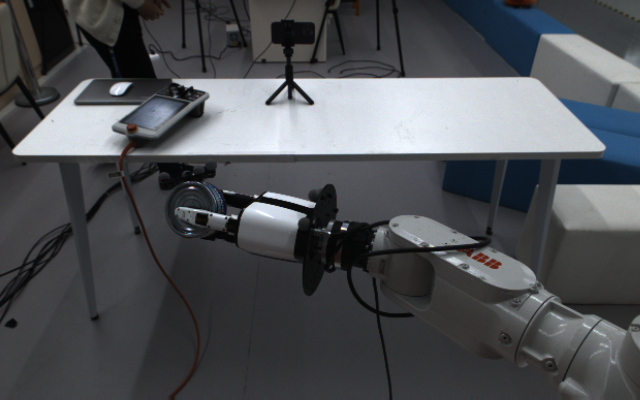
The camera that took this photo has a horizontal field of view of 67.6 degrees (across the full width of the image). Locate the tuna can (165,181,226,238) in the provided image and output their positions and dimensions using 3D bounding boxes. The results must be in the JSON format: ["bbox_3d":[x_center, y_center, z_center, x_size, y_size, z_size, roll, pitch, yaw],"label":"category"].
[{"bbox_3d":[-0.184,0.015,0.715,0.085,0.085,0.034,12,3,14],"label":"tuna can"}]
